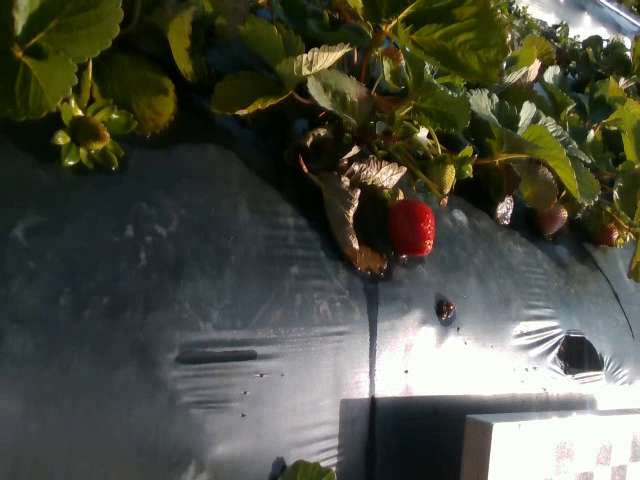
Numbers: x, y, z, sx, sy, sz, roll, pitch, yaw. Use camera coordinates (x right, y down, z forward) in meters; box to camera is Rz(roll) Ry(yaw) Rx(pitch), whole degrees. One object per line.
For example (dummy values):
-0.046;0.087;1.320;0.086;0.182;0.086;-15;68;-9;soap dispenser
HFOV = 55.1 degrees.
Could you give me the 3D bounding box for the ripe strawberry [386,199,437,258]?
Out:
0.055;0.000;0.340;0.046;0.038;0.054;35;24;-32;ripe strawberry
